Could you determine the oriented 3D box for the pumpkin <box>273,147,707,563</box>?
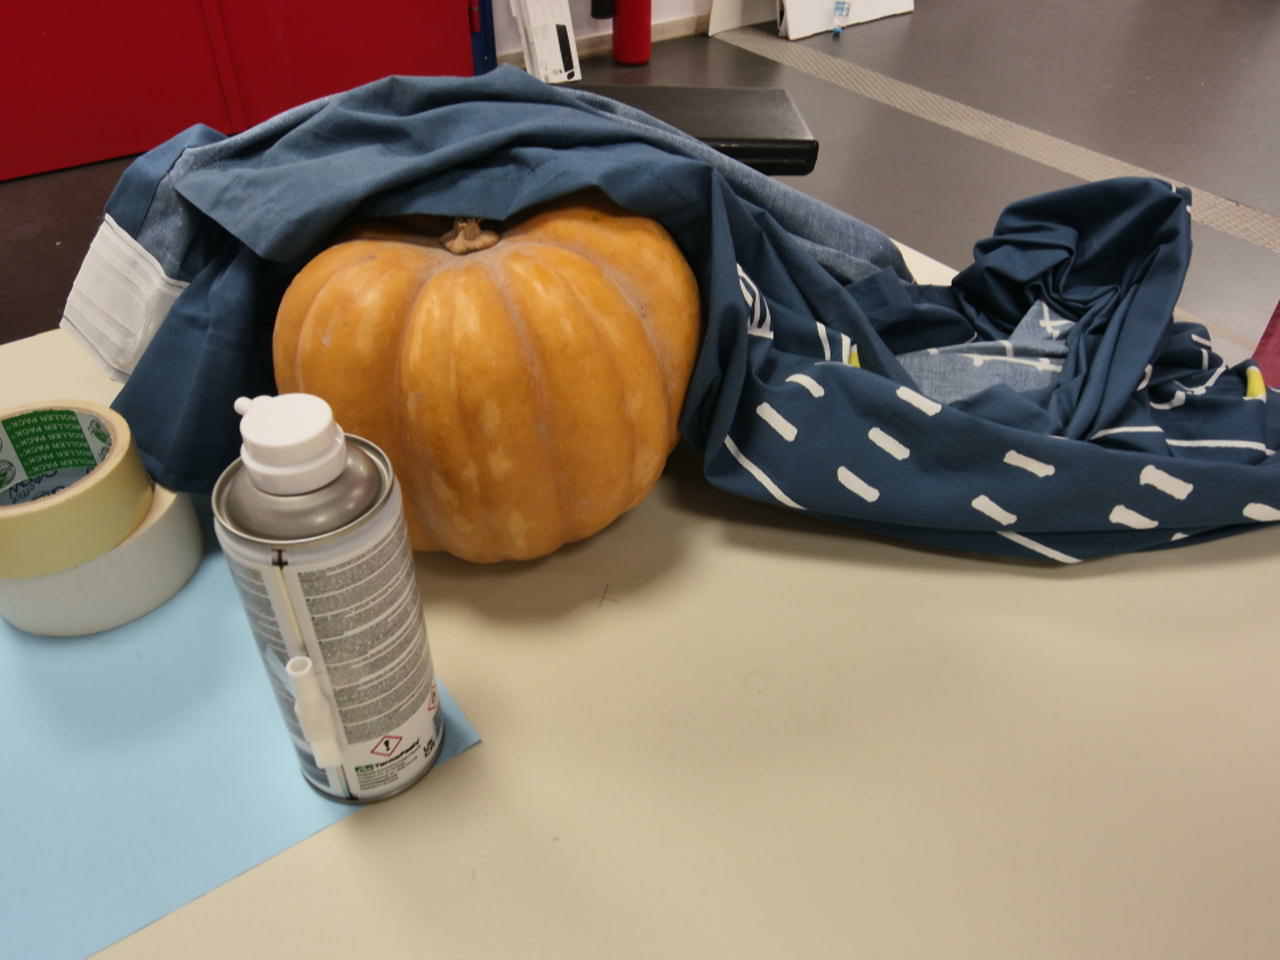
[{"bbox_3d":[-0.075,-0.065,0.537,0.230,0.194,0.230,0,39,0],"label":"pumpkin"}]
